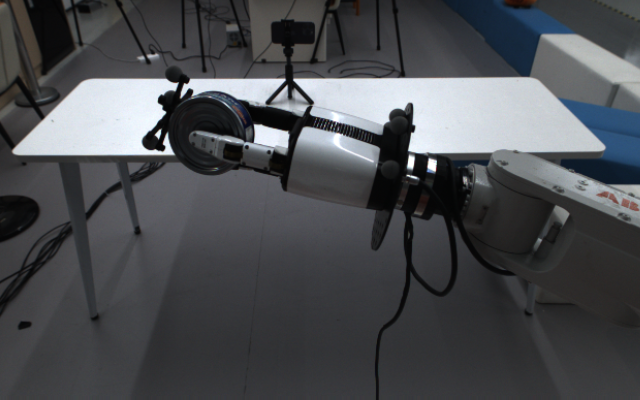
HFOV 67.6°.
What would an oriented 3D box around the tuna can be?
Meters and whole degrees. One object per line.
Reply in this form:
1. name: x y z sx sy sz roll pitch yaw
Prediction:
1. tuna can: -0.111 -0.065 0.511 0.085 0.085 0.034 6 20 5
